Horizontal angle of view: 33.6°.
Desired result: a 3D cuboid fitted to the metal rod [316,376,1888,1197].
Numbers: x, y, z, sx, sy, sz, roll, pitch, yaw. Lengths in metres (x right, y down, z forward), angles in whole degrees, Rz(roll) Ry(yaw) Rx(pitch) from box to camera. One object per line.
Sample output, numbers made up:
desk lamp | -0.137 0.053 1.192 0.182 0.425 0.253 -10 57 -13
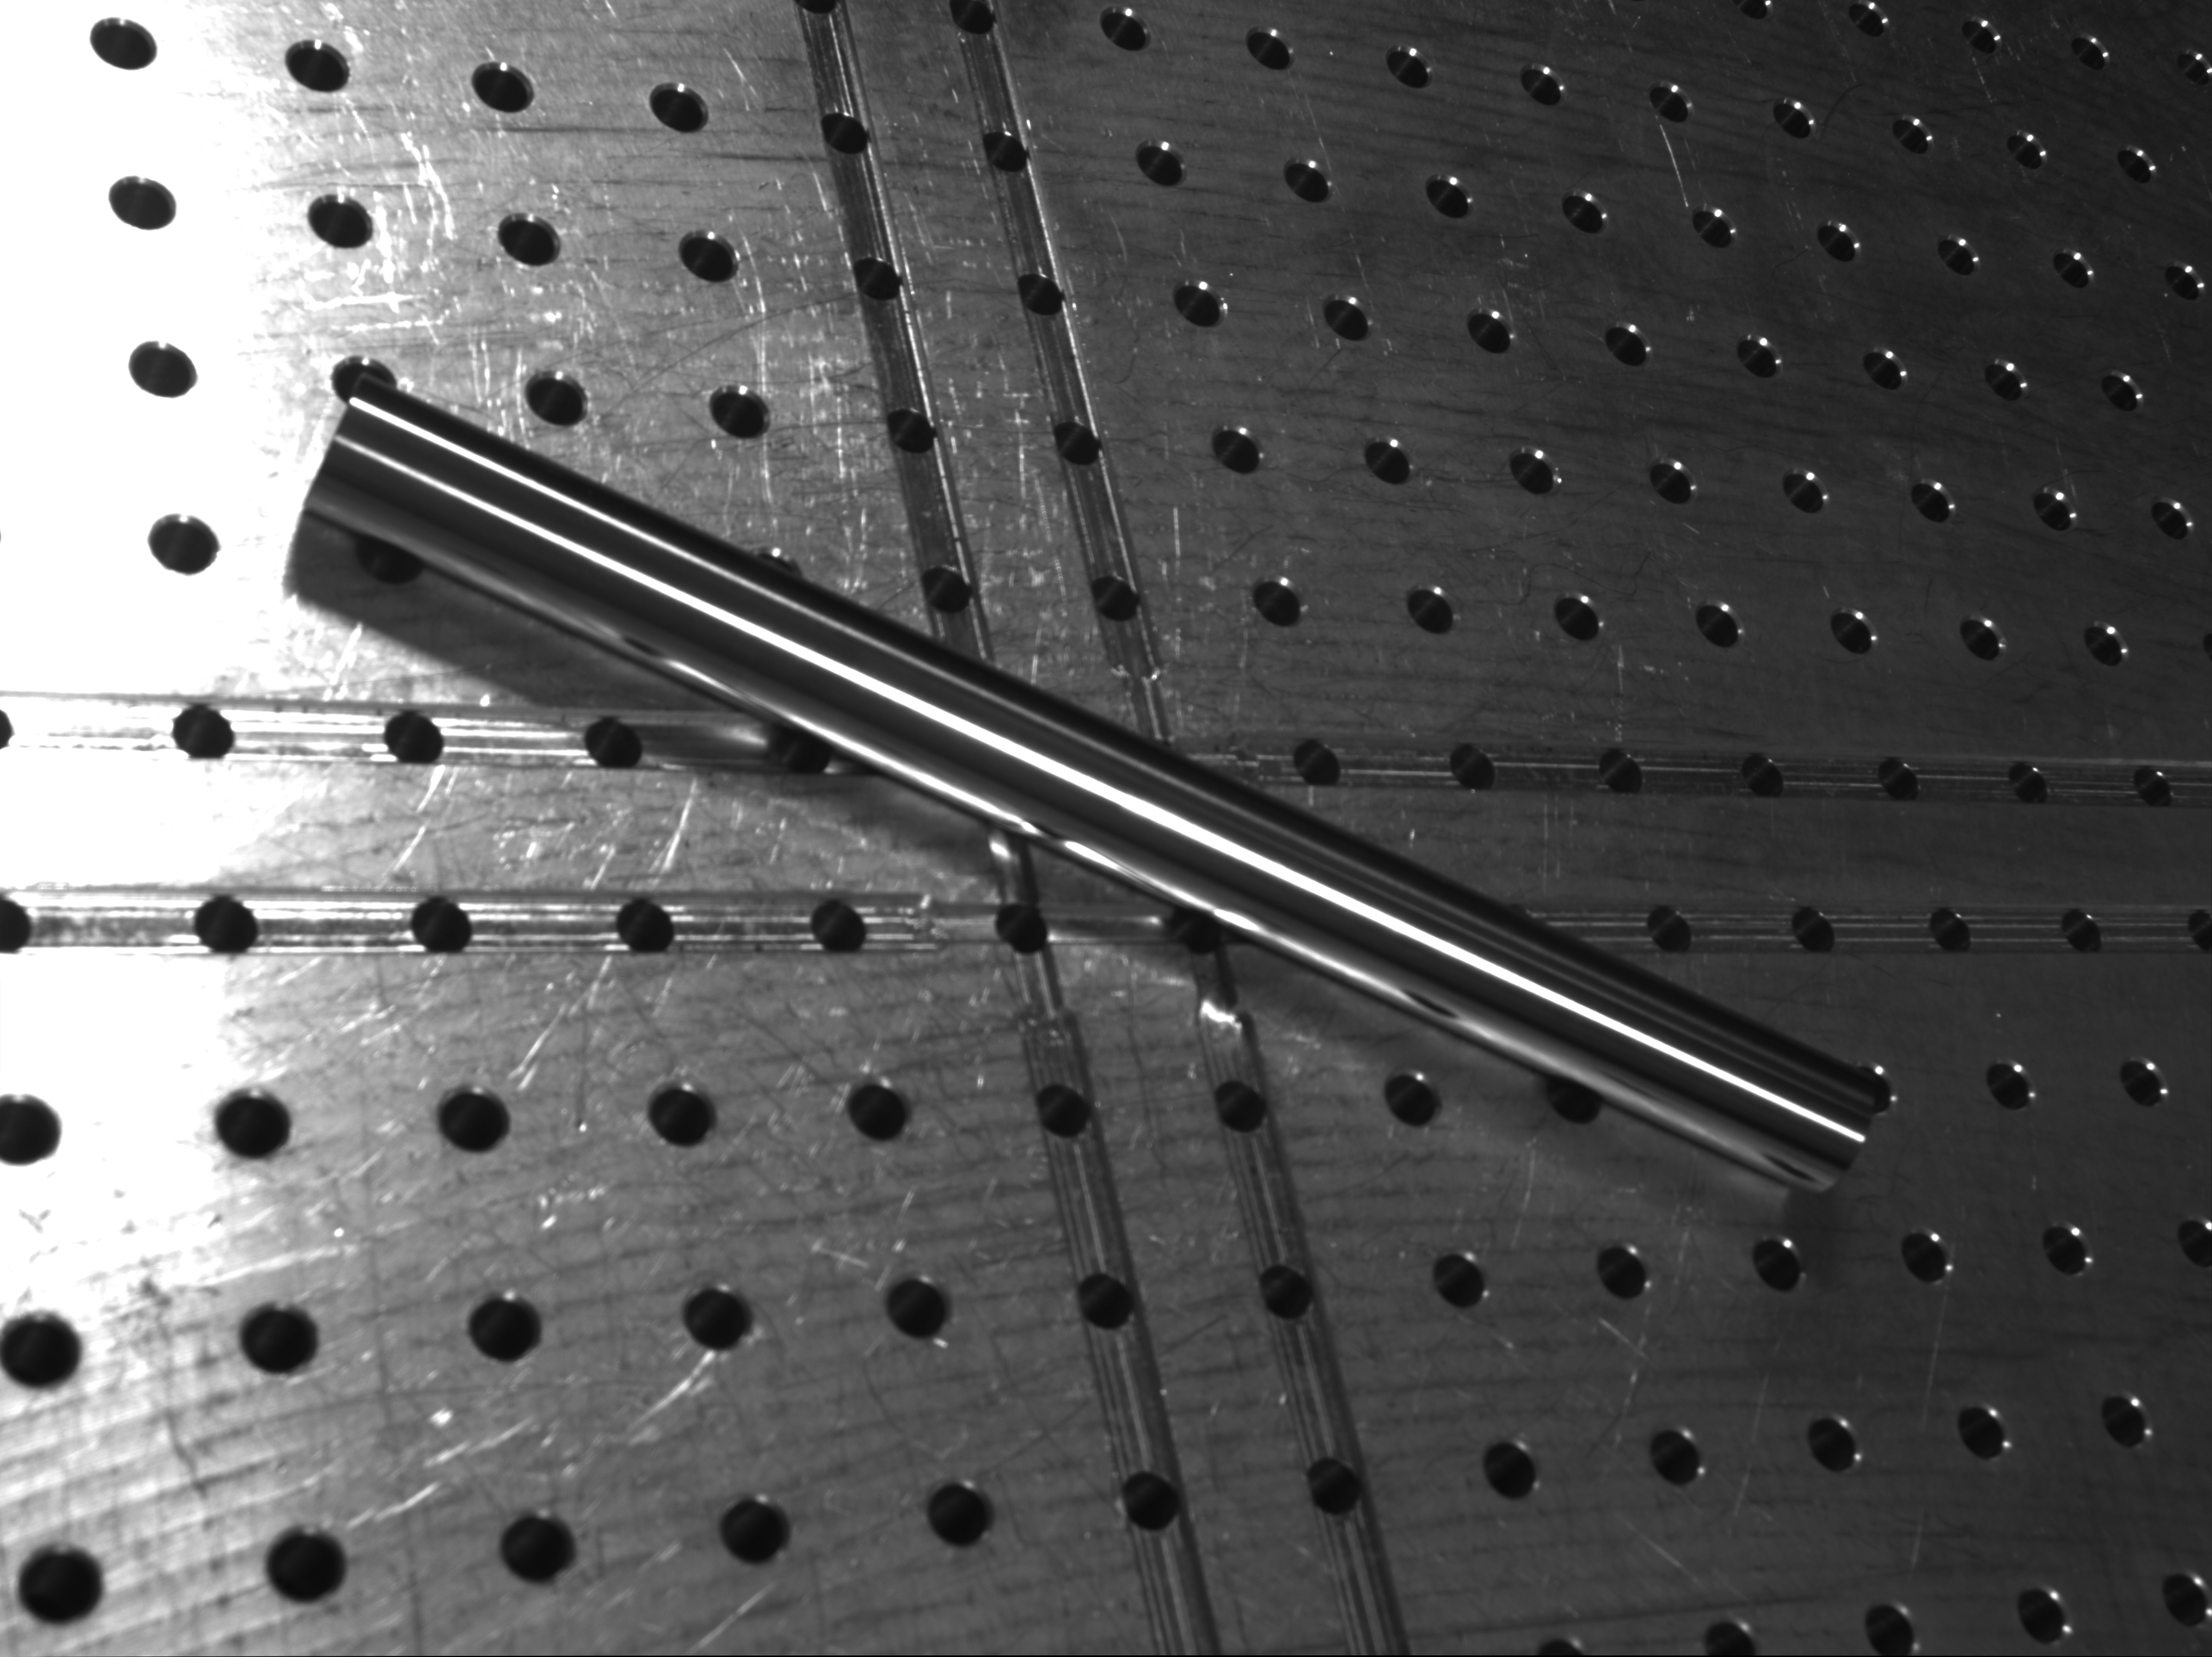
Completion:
metal rod | 0.006 -0.004 0.648 0.300 0.025 0.025 25 53 -13
